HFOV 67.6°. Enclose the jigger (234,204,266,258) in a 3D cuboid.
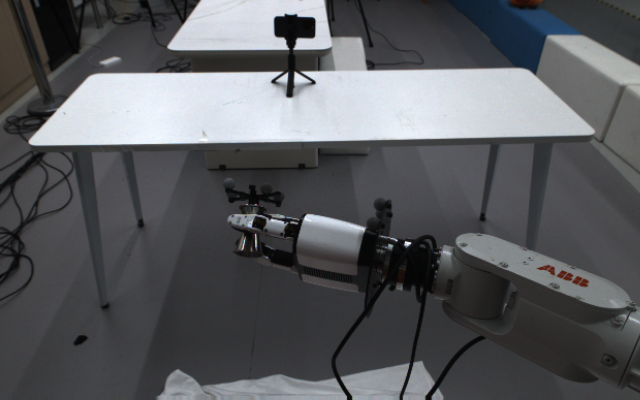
[{"bbox_3d":[-0.099,0.042,0.682,0.043,0.043,0.071,3,72,1],"label":"jigger"}]
